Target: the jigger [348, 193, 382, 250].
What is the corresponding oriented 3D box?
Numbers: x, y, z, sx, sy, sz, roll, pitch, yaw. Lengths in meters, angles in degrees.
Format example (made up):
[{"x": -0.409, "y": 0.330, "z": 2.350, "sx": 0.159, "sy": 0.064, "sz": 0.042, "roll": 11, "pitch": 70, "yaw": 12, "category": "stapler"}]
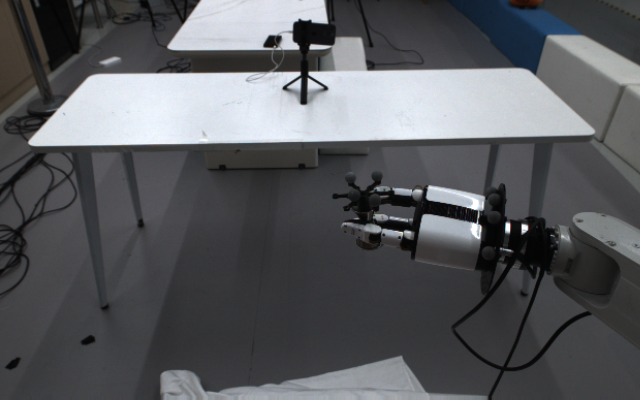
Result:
[{"x": 0.072, "y": 0.033, "z": 0.725, "sx": 0.043, "sy": 0.071, "sz": 0.043, "roll": -9, "pitch": 31, "yaw": 5, "category": "jigger"}]
